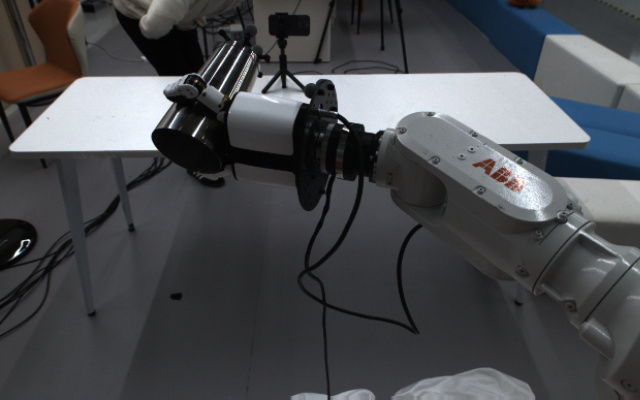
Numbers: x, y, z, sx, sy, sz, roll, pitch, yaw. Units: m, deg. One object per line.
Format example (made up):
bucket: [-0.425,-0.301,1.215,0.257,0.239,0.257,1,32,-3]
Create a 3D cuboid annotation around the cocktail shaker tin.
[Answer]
cocktail shaker tin: [-0.142,-0.130,0.639,0.093,0.093,0.170,13,60,15]
